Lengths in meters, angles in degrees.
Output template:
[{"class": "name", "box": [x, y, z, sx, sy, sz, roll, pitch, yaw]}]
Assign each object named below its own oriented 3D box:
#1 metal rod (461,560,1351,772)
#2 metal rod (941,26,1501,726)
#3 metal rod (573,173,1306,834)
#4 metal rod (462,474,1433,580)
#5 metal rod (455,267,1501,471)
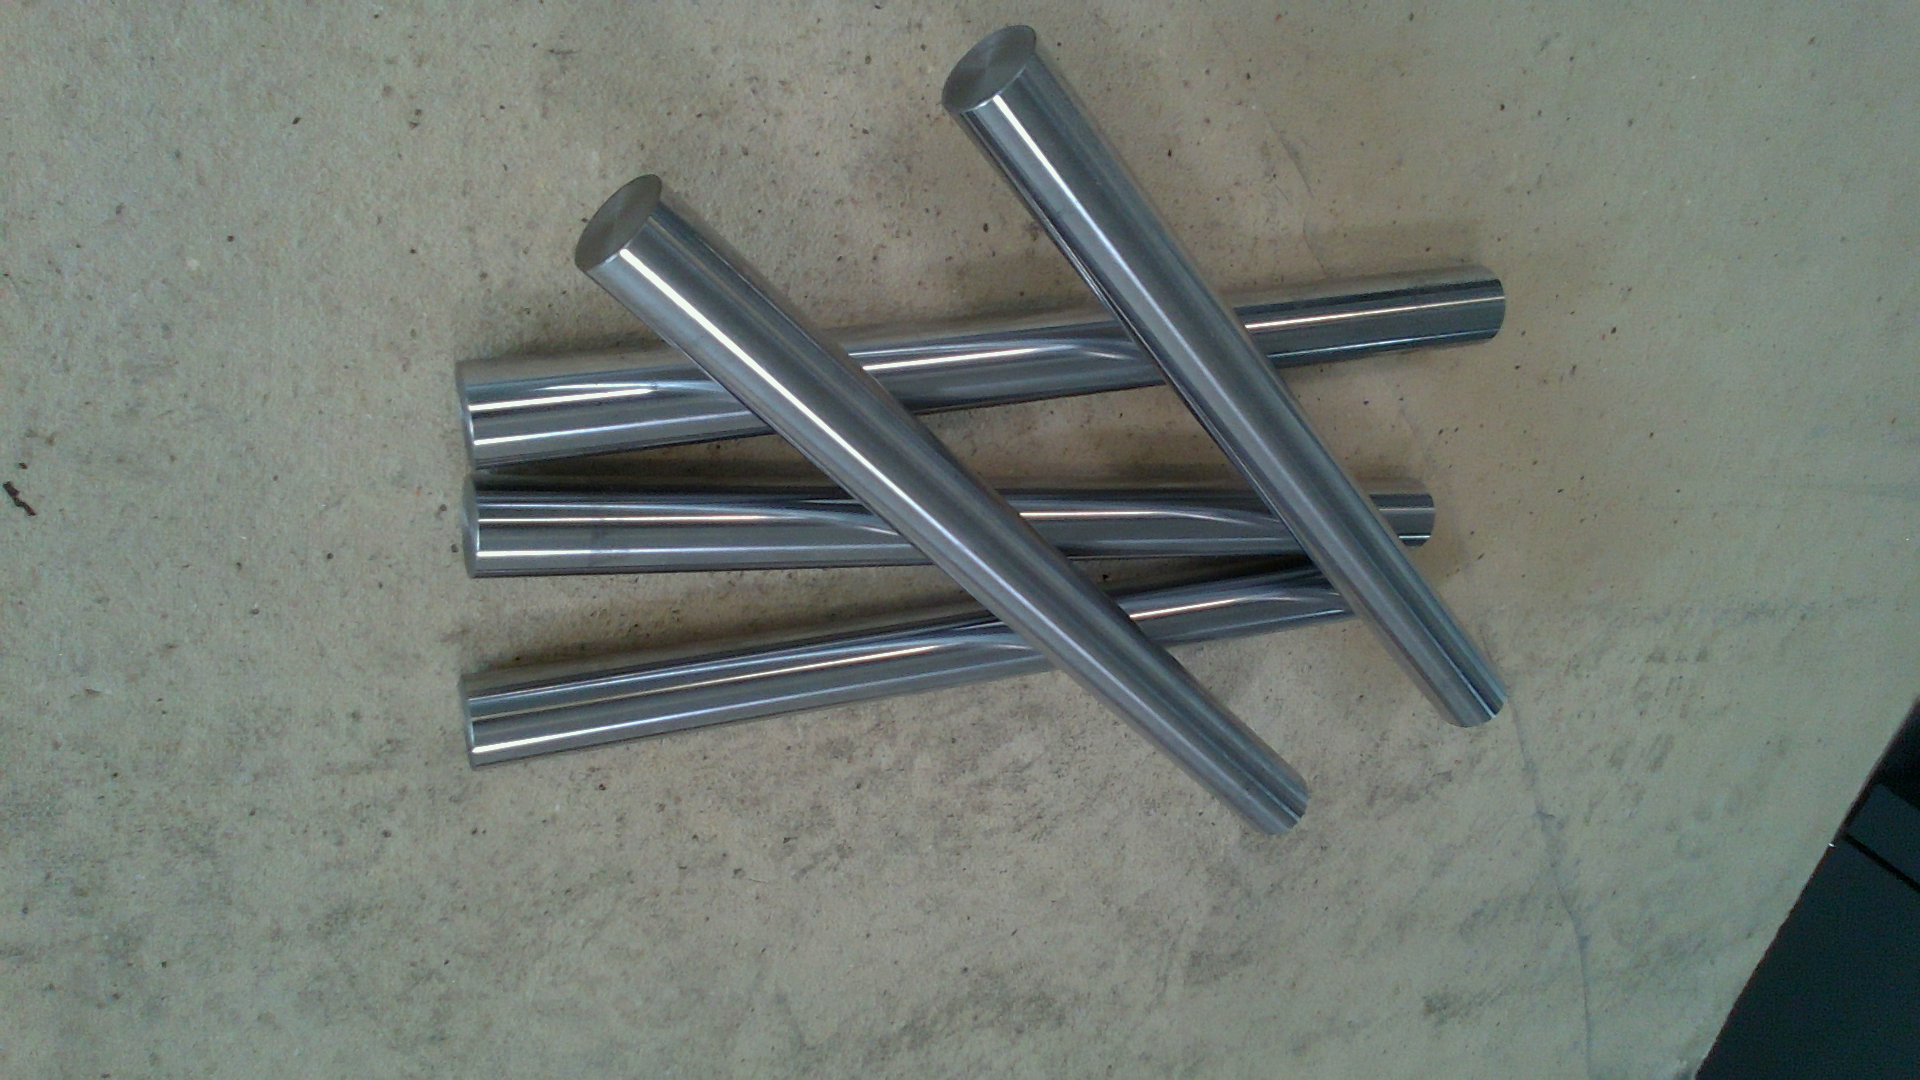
[{"class": "metal rod", "box": [0.010, 0.030, 0.413, 0.301, 0.025, 0.025, -7, 122, -25]}, {"class": "metal rod", "box": [0.093, -0.024, 0.393, 0.025, 0.025, 0.301, -45, 129, 3]}, {"class": "metal rod", "box": [0.018, 0.012, 0.374, 0.025, 0.025, 0.301, -46, 129, 4]}, {"class": "metal rod", "box": [0.017, -0.006, 0.395, 0.301, 0.025, 0.025, -1, 119, -28]}, {"class": "metal rod", "box": [0.024, -0.050, 0.371, 0.301, 0.025, 0.025, -9, 123, -23]}]
